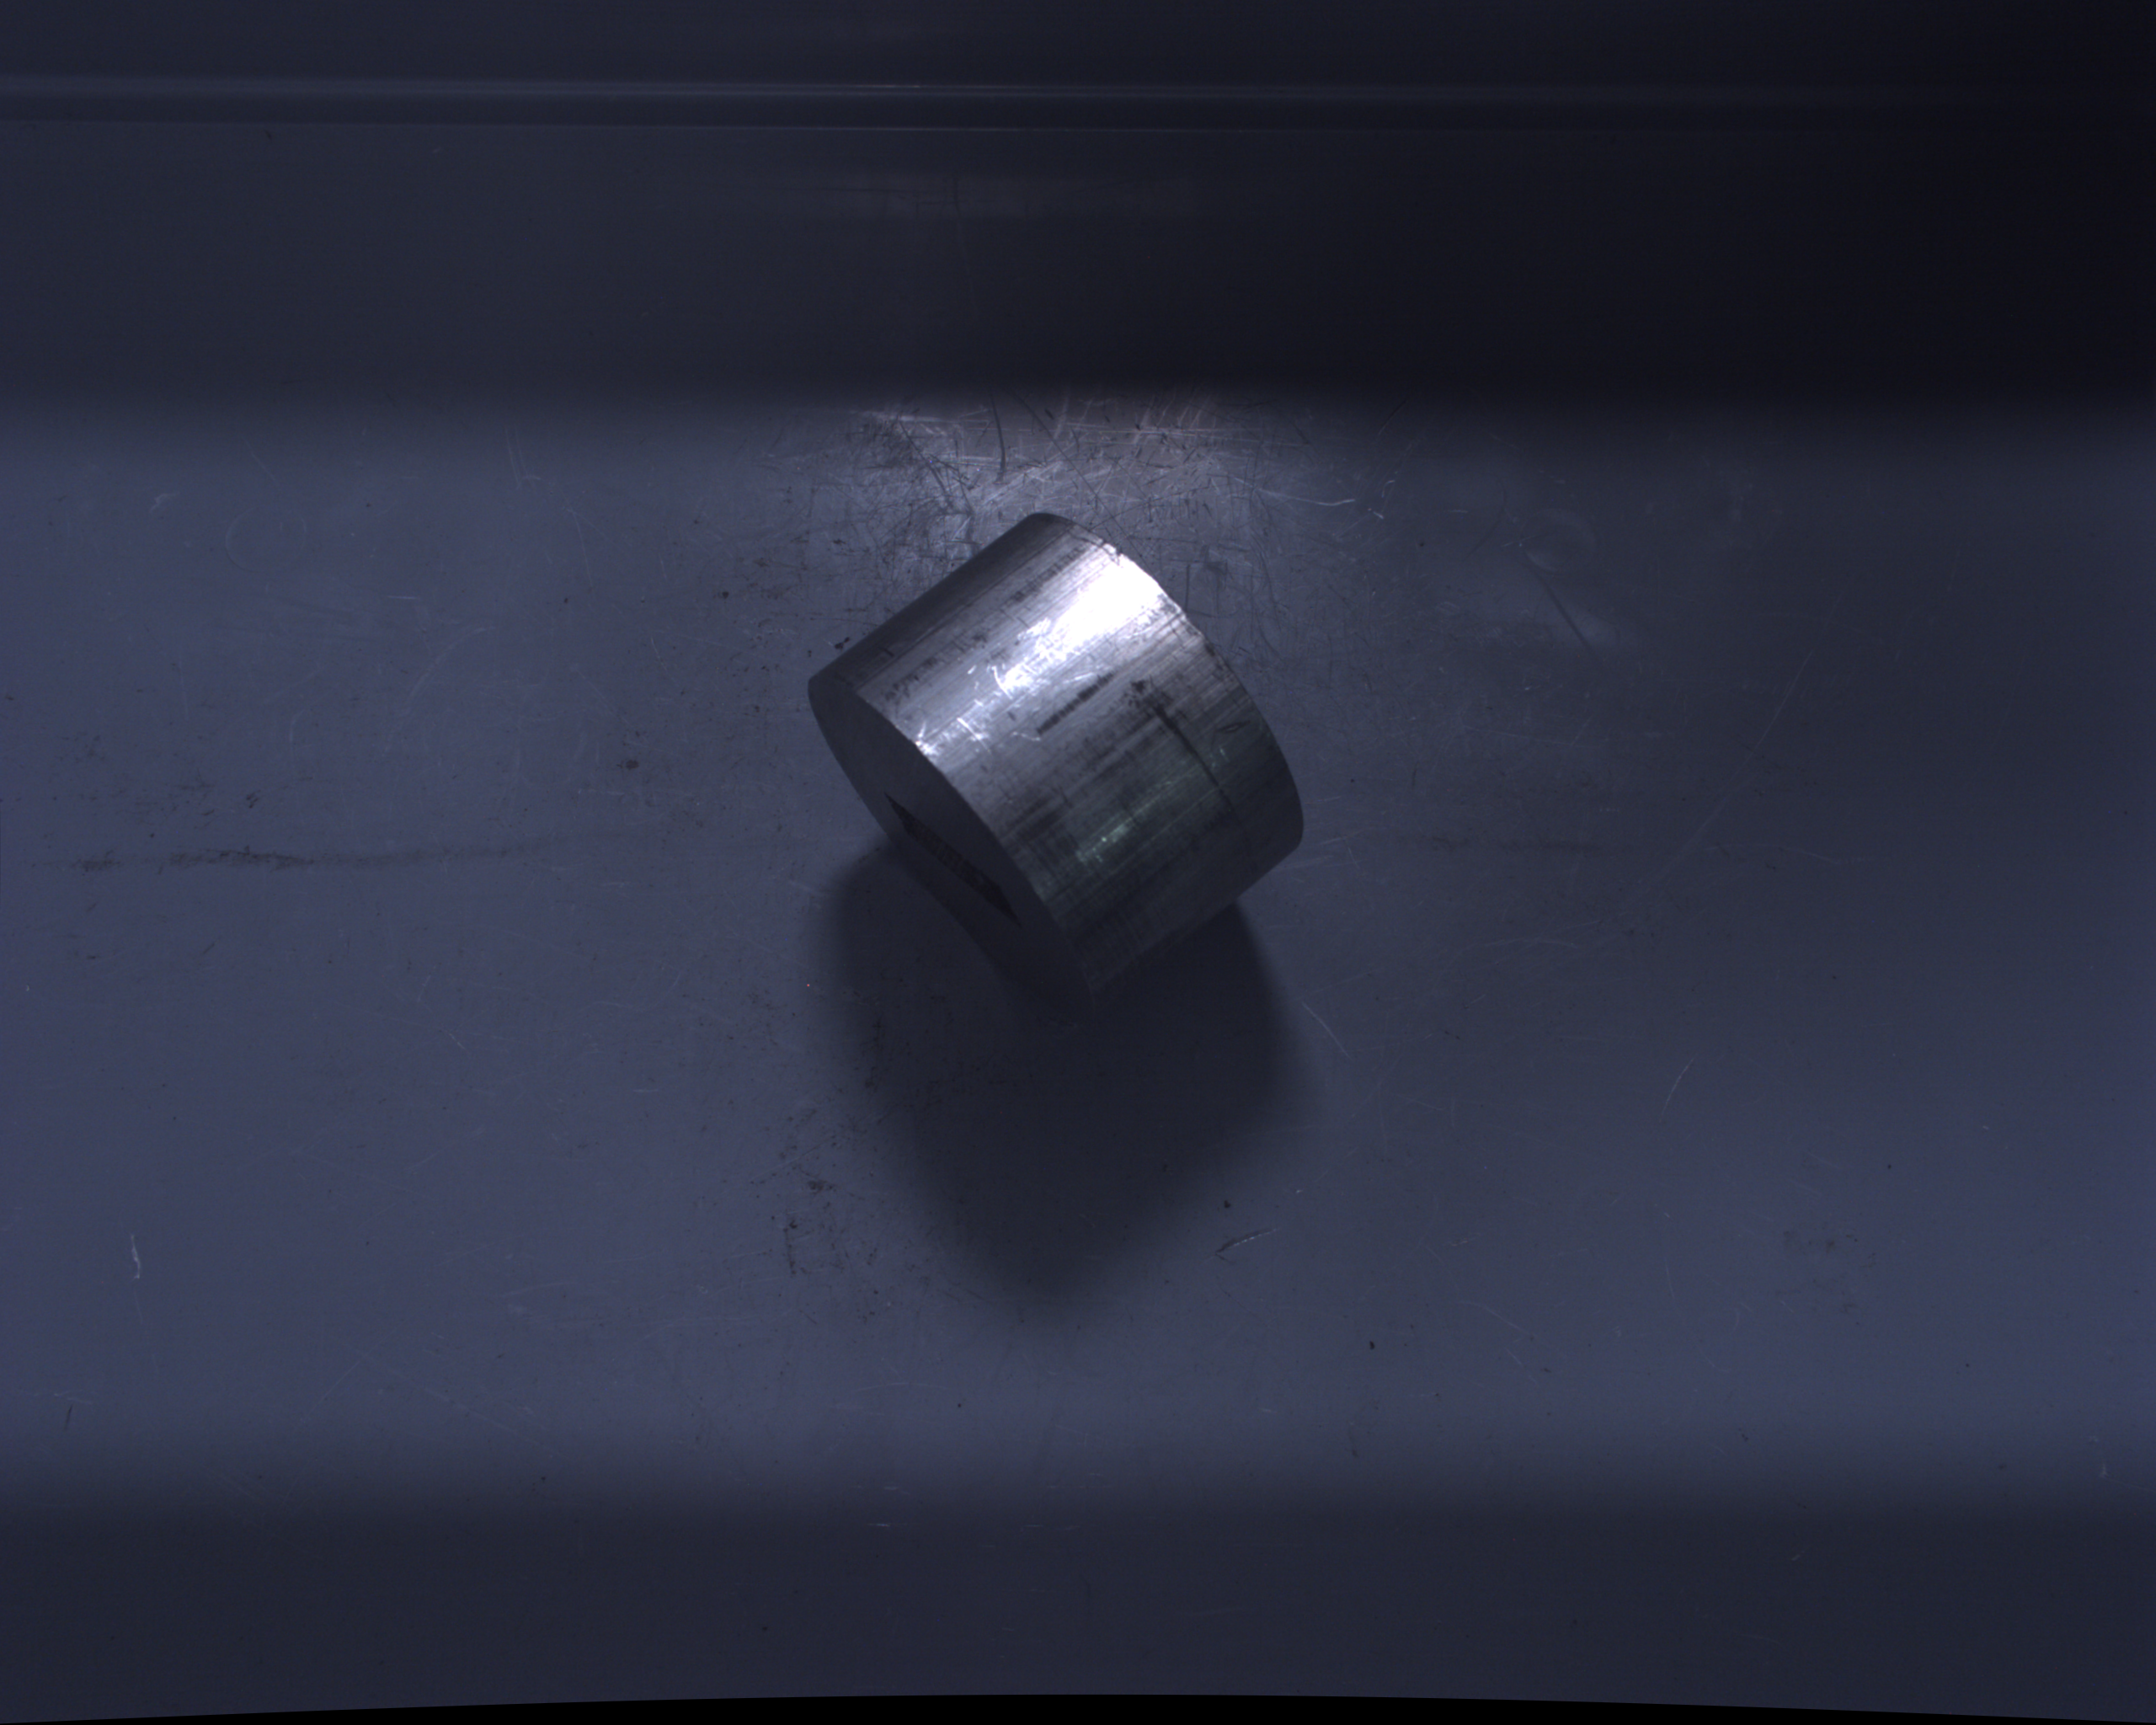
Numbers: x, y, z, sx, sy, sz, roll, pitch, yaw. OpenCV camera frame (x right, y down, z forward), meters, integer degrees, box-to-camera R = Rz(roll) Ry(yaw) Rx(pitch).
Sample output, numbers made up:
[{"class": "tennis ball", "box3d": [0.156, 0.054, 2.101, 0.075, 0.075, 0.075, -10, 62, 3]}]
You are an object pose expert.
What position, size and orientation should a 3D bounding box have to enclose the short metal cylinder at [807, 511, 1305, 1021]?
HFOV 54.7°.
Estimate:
[{"class": "short metal cylinder", "box3d": [-0.004, -0.017, 0.384, 0.050, 0.080, 0.080, -40, 75, -13]}]
